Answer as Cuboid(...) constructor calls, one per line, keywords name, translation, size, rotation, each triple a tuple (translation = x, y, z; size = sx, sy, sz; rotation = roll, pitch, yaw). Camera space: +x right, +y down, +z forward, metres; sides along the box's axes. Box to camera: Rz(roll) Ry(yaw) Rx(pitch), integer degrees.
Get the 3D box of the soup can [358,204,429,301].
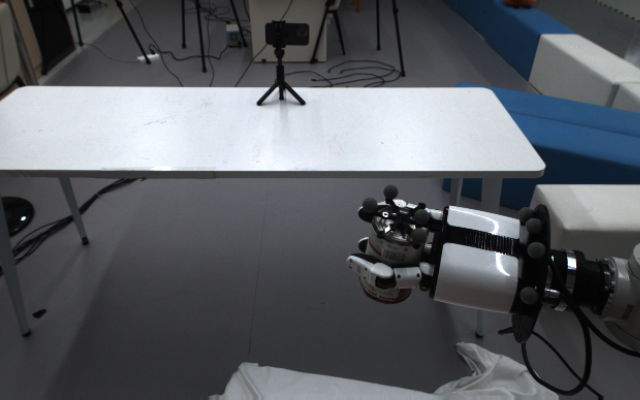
Cuboid(name="soup can", translation=(0.090, 0.067, 0.589), size=(0.067, 0.101, 0.067), rotation=(5, 36, -4))
